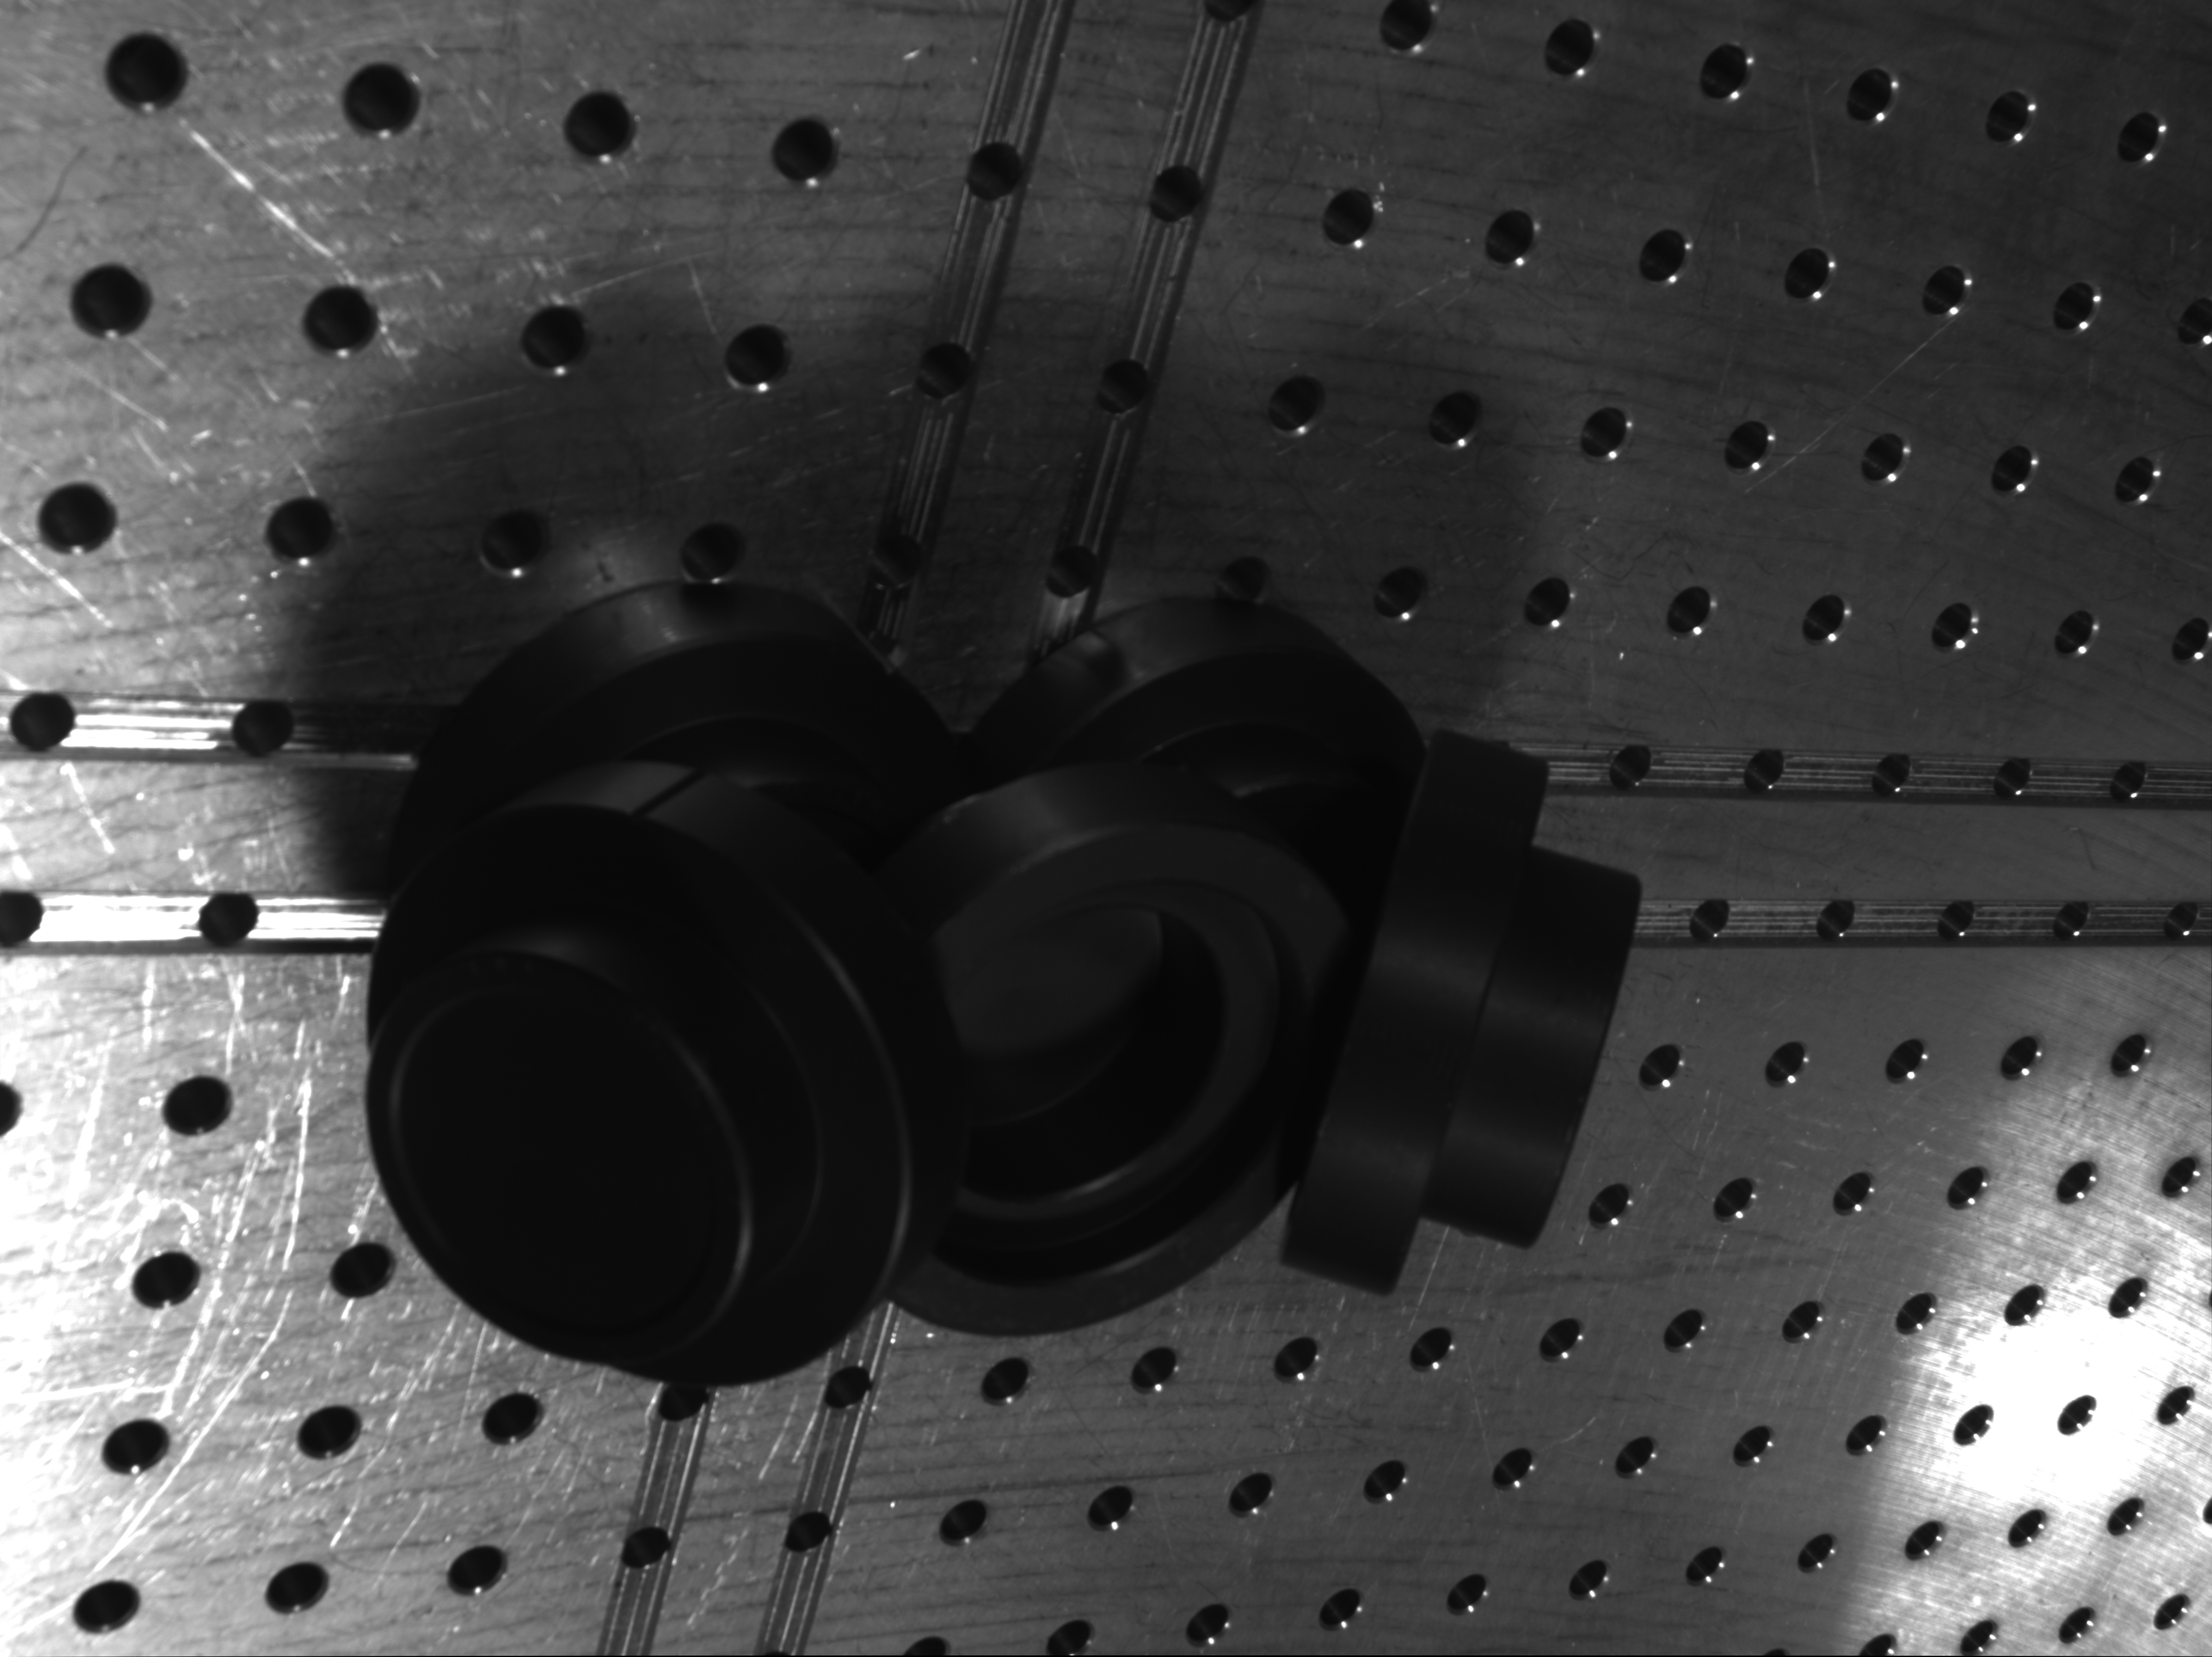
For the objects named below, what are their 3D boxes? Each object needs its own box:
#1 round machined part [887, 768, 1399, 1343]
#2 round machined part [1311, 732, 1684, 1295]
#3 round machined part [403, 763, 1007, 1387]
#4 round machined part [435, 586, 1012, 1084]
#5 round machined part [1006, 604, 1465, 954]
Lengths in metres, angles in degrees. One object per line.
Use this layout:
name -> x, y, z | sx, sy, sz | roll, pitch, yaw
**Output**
round machined part -> -0.002, 0.033, 0.605 | 0.098, 0.042, 0.098 | -15, 125, -22
round machined part -> 0.071, 0.036, 0.639 | 0.042, 0.098, 0.098 | 18, 114, 6
round machined part -> -0.068, 0.043, 0.563 | 0.042, 0.098, 0.098 | -39, 144, -56
round machined part -> -0.059, 0.012, 0.615 | 0.098, 0.042, 0.098 | -15, 125, -22
round machined part -> 0.025, 0.012, 0.665 | 0.098, 0.042, 0.098 | -15, 125, -22
